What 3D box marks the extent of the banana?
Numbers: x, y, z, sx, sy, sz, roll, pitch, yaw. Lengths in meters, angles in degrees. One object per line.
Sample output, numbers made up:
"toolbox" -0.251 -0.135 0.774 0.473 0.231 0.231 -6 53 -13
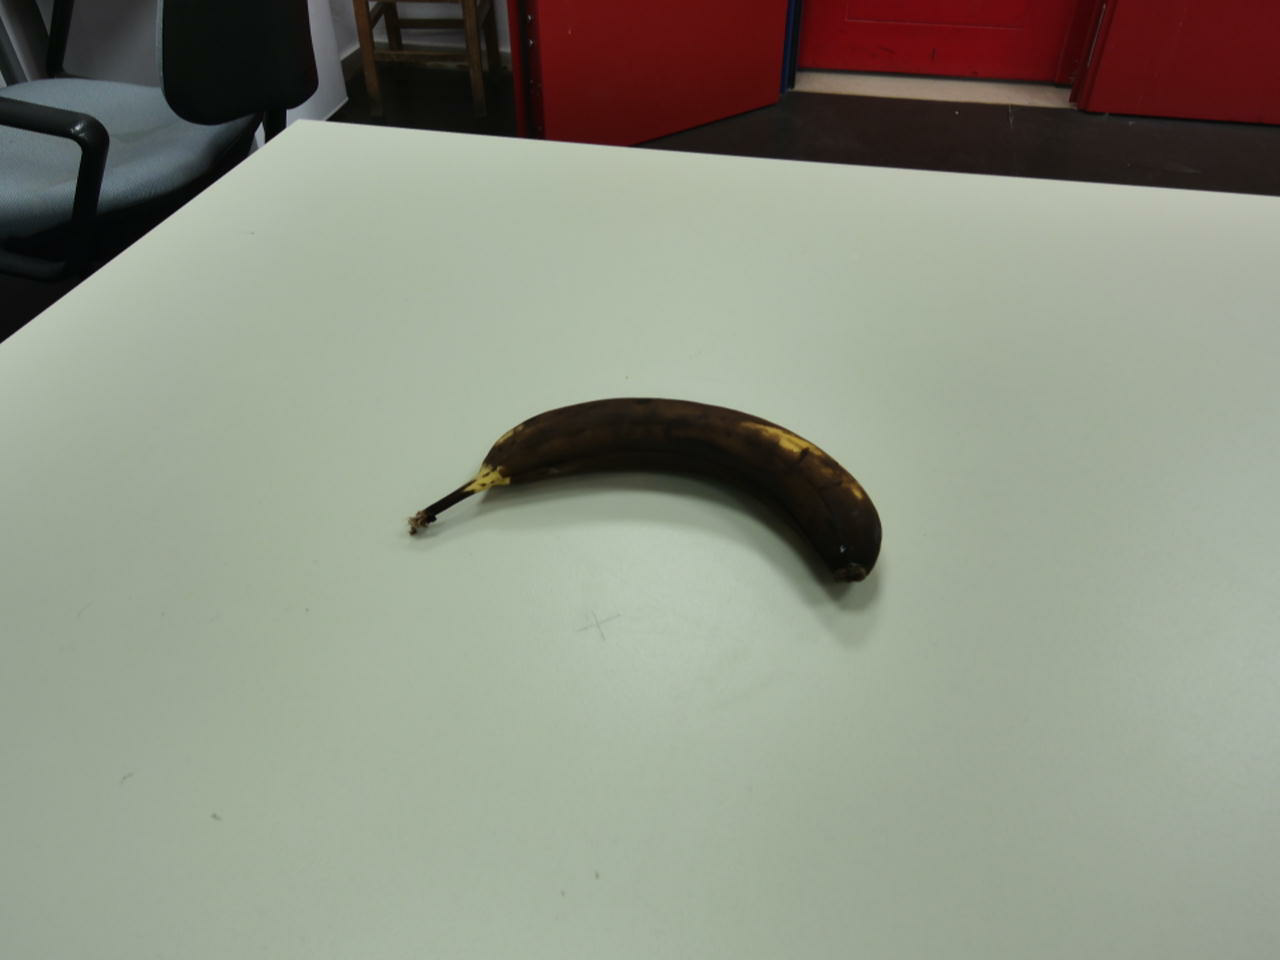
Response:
"banana" 0.007 -0.004 0.417 0.188 0.034 0.091 9 39 12
